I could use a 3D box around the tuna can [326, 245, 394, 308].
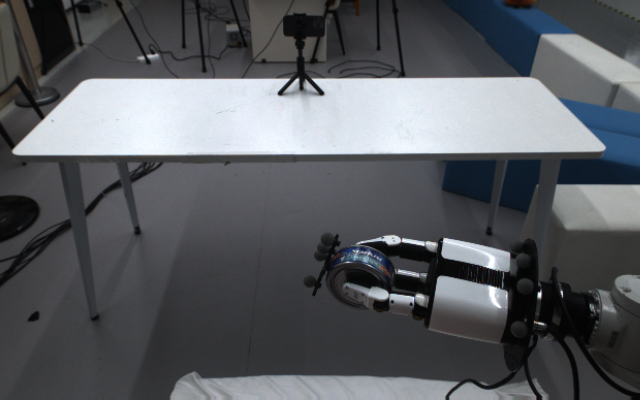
[{"bbox_3d":[0.055,0.099,0.621,0.085,0.085,0.034,9,35,10],"label":"tuna can"}]
